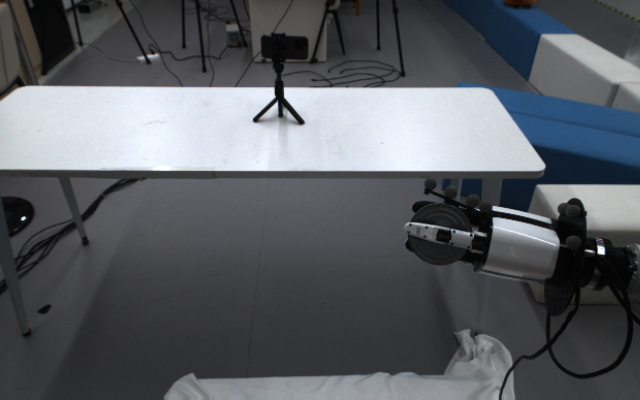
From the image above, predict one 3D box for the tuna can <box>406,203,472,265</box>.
[{"bbox_3d":[0.170,0.046,0.674,0.085,0.085,0.034,13,2,16],"label":"tuna can"}]
